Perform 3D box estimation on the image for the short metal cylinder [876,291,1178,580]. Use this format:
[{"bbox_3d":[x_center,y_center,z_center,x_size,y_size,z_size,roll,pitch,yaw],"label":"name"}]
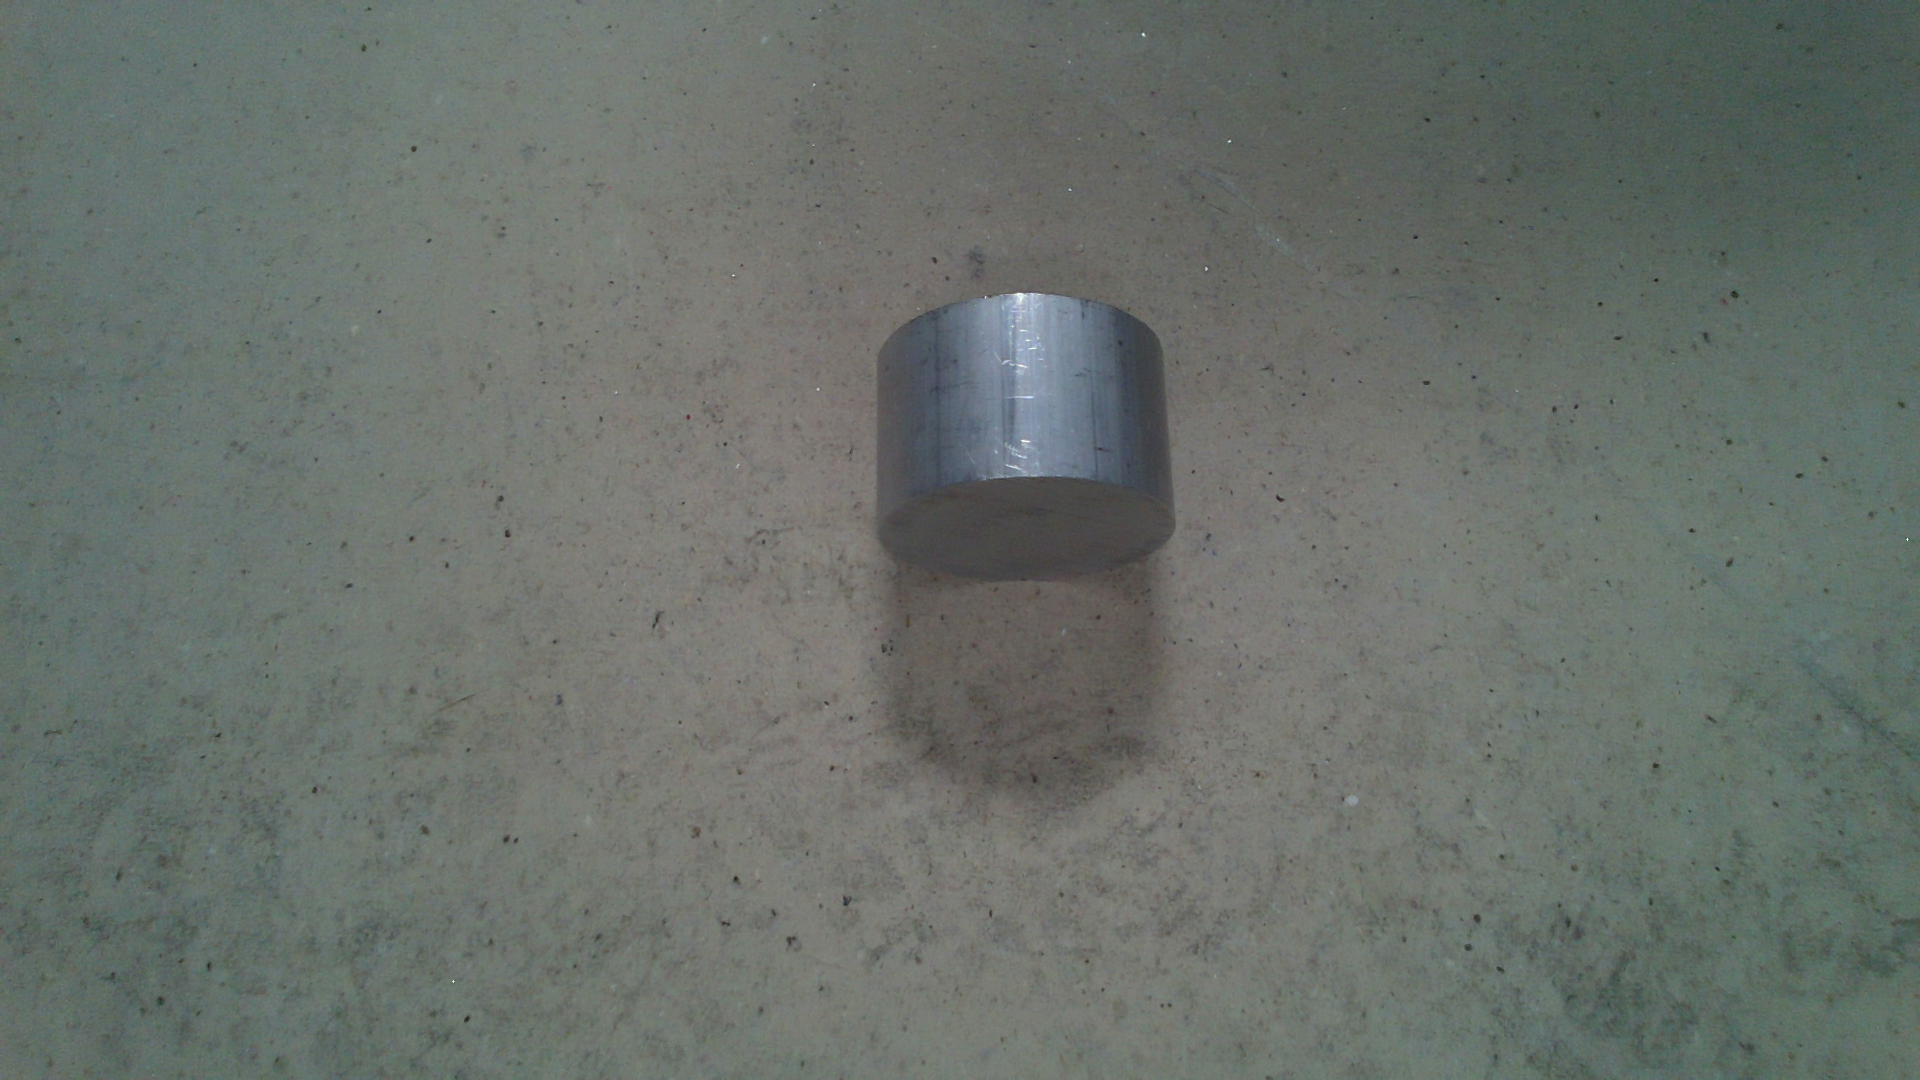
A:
[{"bbox_3d":[0.017,-0.026,0.375,0.080,0.080,0.050,-1,70,0],"label":"short metal cylinder"}]
